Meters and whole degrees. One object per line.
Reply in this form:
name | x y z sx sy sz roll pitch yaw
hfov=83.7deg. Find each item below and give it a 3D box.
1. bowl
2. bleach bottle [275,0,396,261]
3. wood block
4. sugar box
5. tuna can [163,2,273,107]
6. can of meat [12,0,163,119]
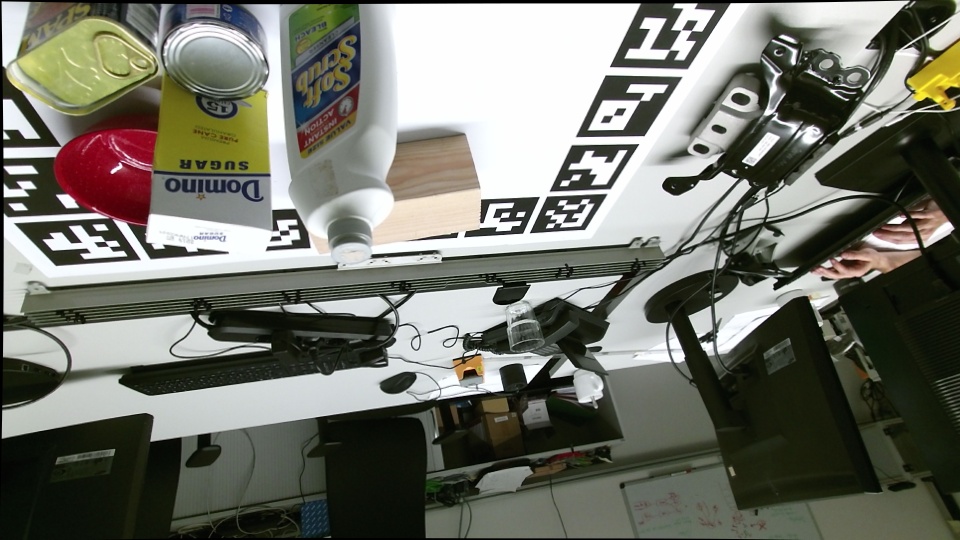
bowl | -0.351 -0.100 0.567 0.162 0.055 0.162 -14 153 -7
bleach bottle | -0.107 -0.122 0.429 0.103 0.249 0.068 -19 152 8
wood block | -0.105 -0.089 0.662 0.207 0.089 0.091 -10 147 -5
sugar box | -0.247 -0.096 0.487 0.093 0.175 0.045 3 146 -35
tuna can | -0.229 -0.189 0.474 0.086 0.033 0.086 -11 149 -7
can of meat | -0.304 -0.178 0.423 0.102 0.083 0.058 -19 154 13
